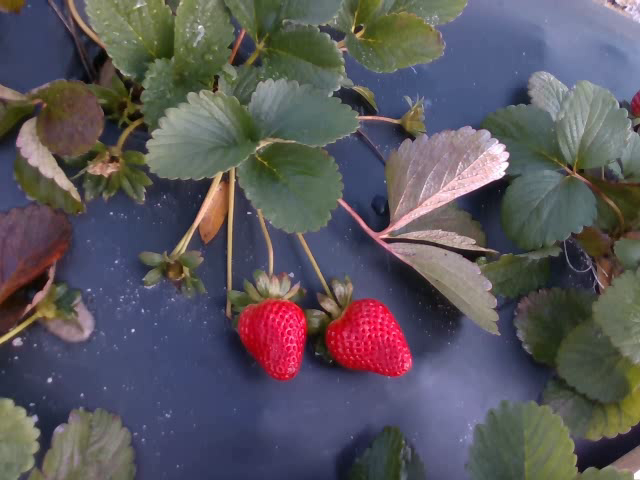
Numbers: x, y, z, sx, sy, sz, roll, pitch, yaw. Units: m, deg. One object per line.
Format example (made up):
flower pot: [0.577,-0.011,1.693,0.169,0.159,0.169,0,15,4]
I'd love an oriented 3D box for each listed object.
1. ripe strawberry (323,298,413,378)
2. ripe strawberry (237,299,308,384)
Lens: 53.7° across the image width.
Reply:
ripe strawberry: [0.034,0.066,0.402,0.064,0.057,0.051,39,-23,24]
ripe strawberry: [-0.027,0.062,0.387,0.048,0.056,0.041,-5,-29,-20]
